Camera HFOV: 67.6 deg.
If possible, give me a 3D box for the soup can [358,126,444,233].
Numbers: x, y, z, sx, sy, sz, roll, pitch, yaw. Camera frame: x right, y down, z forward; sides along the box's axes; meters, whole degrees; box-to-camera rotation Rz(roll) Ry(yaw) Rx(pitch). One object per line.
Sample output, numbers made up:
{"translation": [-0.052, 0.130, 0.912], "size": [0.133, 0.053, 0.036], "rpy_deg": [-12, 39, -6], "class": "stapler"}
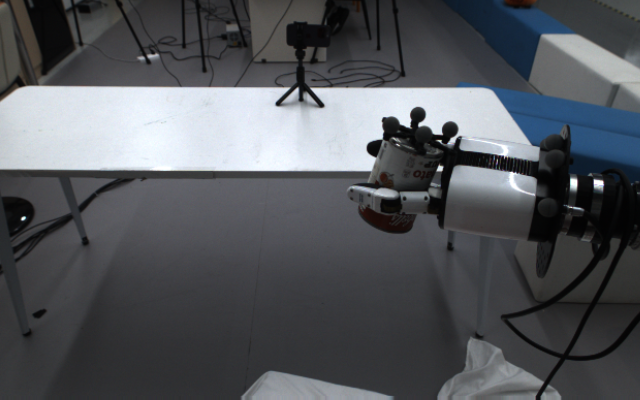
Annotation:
{"translation": [0.091, -0.022, 0.544], "size": [0.067, 0.101, 0.067], "rpy_deg": [13, 30, -8], "class": "soup can"}
